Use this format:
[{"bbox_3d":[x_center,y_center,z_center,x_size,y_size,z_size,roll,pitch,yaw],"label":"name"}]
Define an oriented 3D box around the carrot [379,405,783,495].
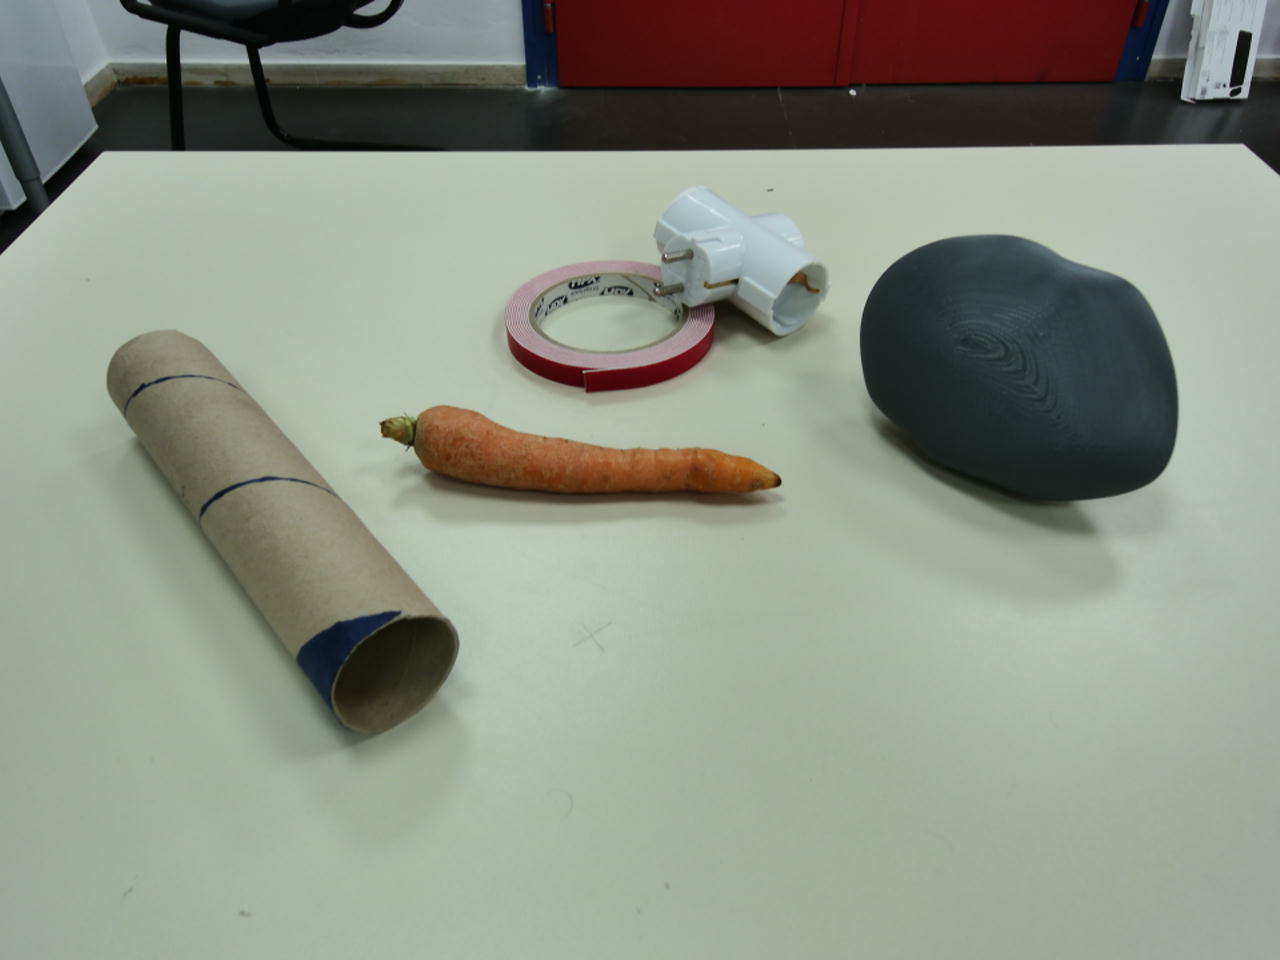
[{"bbox_3d":[-0.026,-0.010,0.425,0.173,0.032,0.030,6,39,7],"label":"carrot"}]
